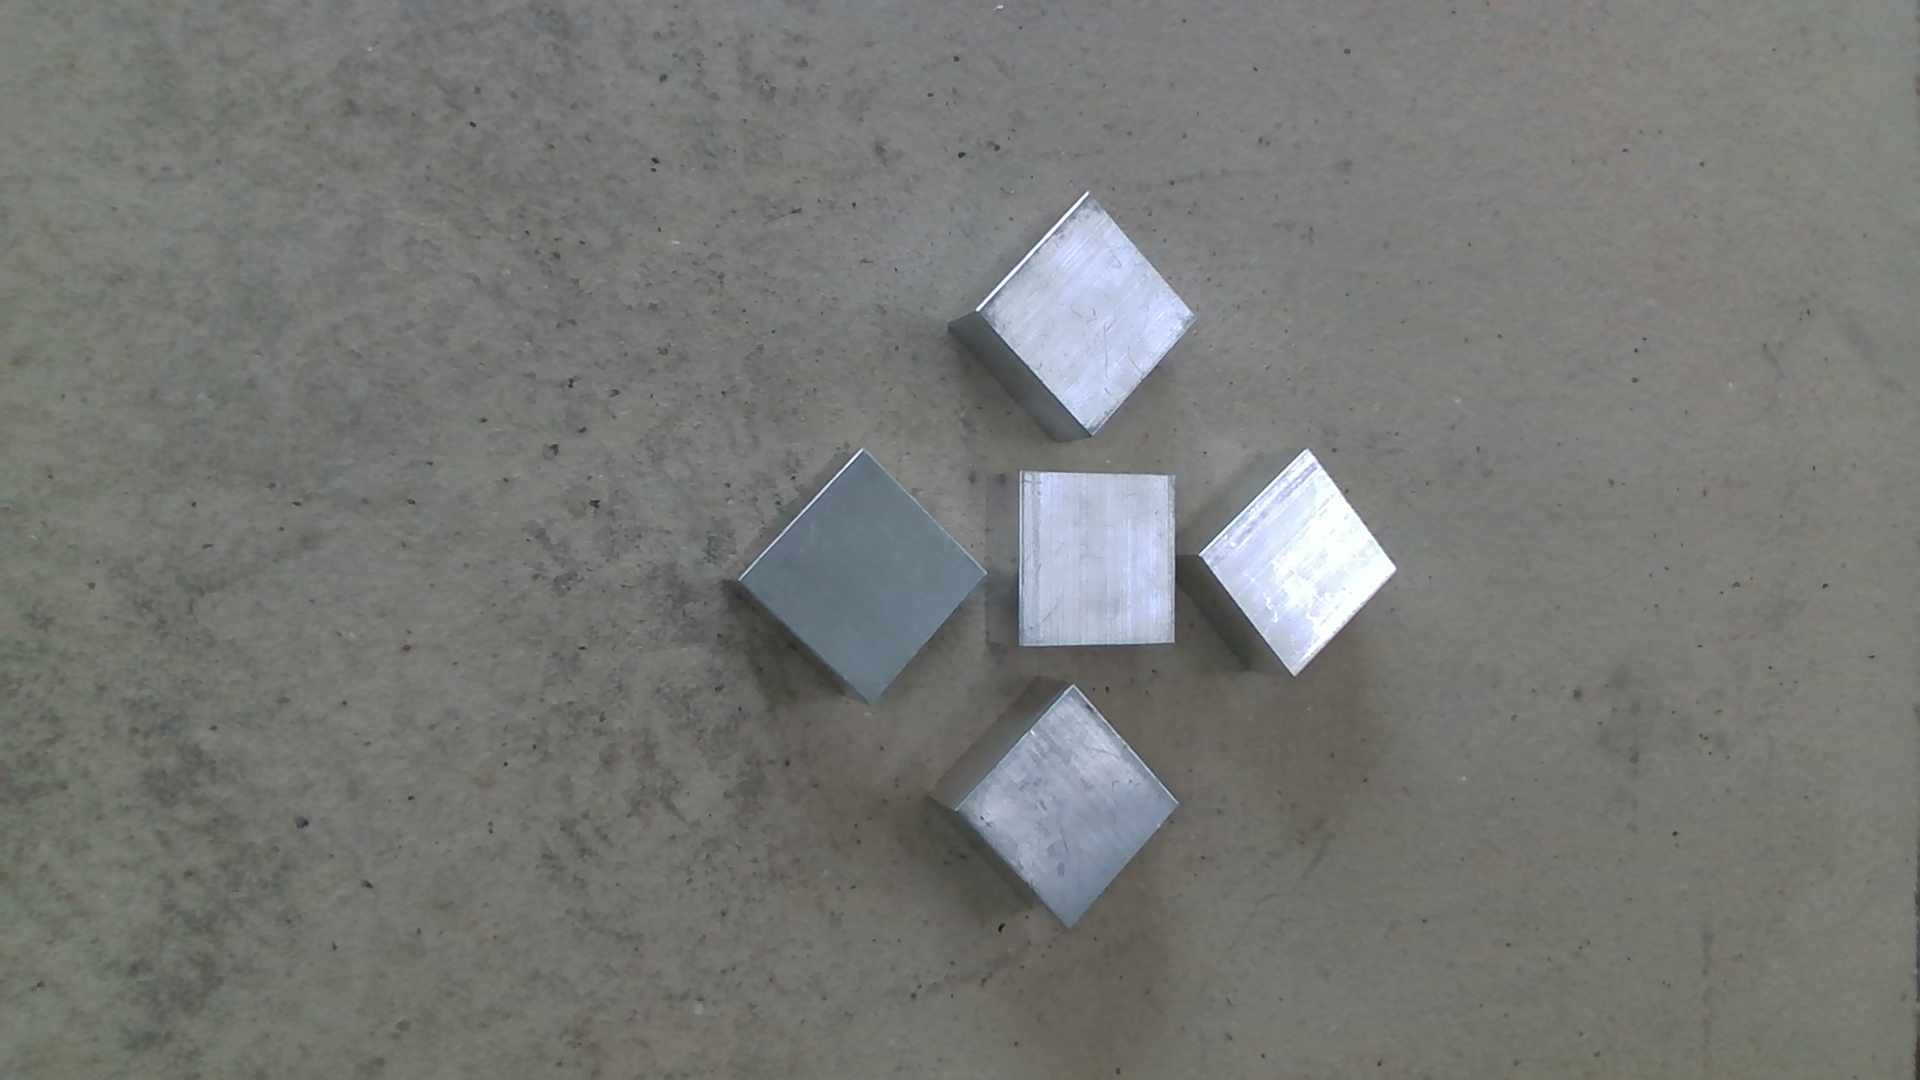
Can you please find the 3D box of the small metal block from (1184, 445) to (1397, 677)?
[{"bbox_3d":[0.099,0.006,0.430,0.050,0.025,0.050,-43,104,-16],"label":"small metal block"}]

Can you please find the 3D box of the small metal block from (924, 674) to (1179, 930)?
[{"bbox_3d":[0.027,0.076,0.405,0.050,0.025,0.050,-45,104,-14],"label":"small metal block"}]

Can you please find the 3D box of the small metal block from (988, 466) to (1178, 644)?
[{"bbox_3d":[0.036,0.005,0.407,0.050,0.025,0.050,0,90,-20],"label":"small metal block"}]

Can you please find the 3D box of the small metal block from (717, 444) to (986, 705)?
[{"bbox_3d":[-0.030,0.009,0.383,0.050,0.025,0.050,46,76,-15],"label":"small metal block"}]

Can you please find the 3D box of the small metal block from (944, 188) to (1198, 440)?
[{"bbox_3d":[0.033,-0.065,0.406,0.050,0.025,0.050,46,76,-16],"label":"small metal block"}]
